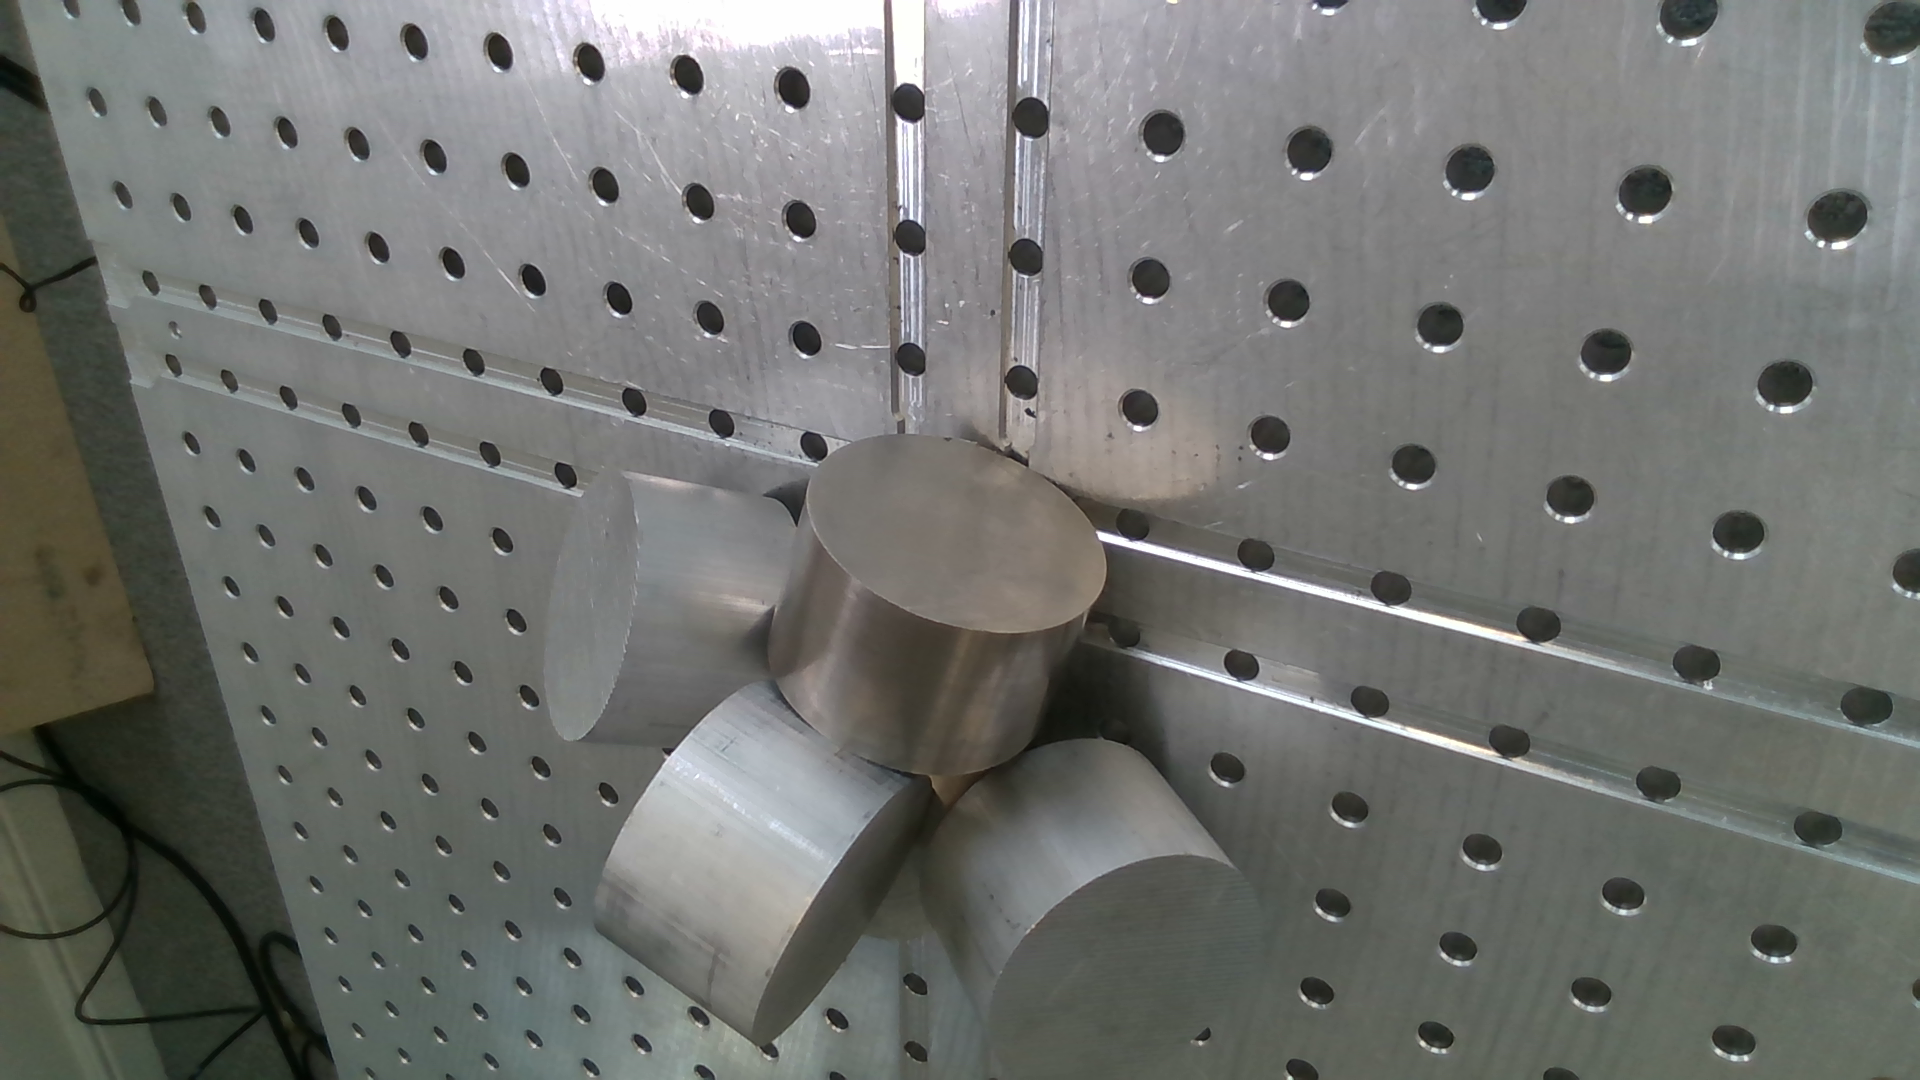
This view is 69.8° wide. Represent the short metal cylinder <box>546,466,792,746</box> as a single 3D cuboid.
[{"bbox_3d":[-0.088,0.022,0.415,0.080,0.050,0.080,-24,61,54],"label":"short metal cylinder"}]

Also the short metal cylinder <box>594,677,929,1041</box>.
[{"bbox_3d":[-0.051,0.084,0.368,0.050,0.080,0.080,30,127,15],"label":"short metal cylinder"}]

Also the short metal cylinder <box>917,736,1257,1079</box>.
[{"bbox_3d":[0.034,0.102,0.382,0.050,0.080,0.080,-128,34,-53],"label":"short metal cylinder"}]

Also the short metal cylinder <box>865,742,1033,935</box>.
[{"bbox_3d":[-0.023,0.075,0.430,0.080,0.050,0.080,14,121,24],"label":"short metal cylinder"}]

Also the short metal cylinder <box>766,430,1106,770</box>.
[{"bbox_3d":[-0.007,0.015,0.369,0.080,0.080,0.050,31,127,14],"label":"short metal cylinder"}]
